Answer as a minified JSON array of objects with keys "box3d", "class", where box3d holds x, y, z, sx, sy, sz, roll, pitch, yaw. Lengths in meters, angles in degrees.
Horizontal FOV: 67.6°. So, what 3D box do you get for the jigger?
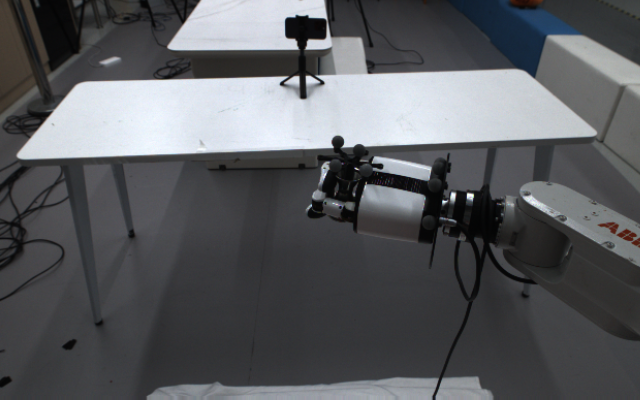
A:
[{"box3d":[0.036,-0.008,0.679,0.043,0.071,0.043,7,32,-4],"class":"jigger"}]
